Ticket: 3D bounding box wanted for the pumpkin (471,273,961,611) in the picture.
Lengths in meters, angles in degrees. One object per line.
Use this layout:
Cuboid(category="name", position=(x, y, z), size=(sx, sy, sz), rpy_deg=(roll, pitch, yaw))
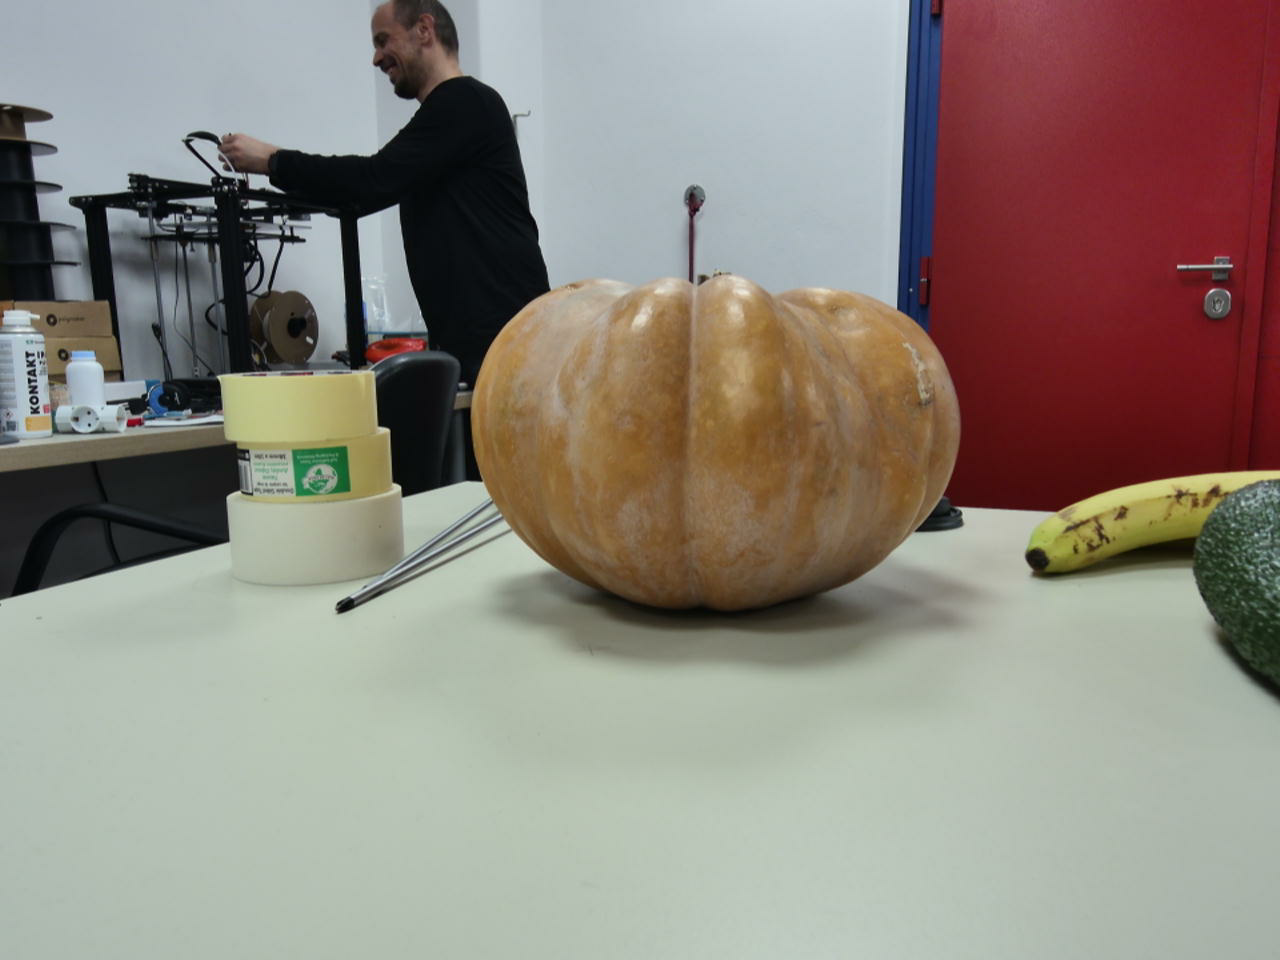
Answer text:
Cuboid(category="pumpkin", position=(0.037, -0.026, 0.568), size=(0.277, 0.181, 0.277), rpy_deg=(0, 6, 0))
